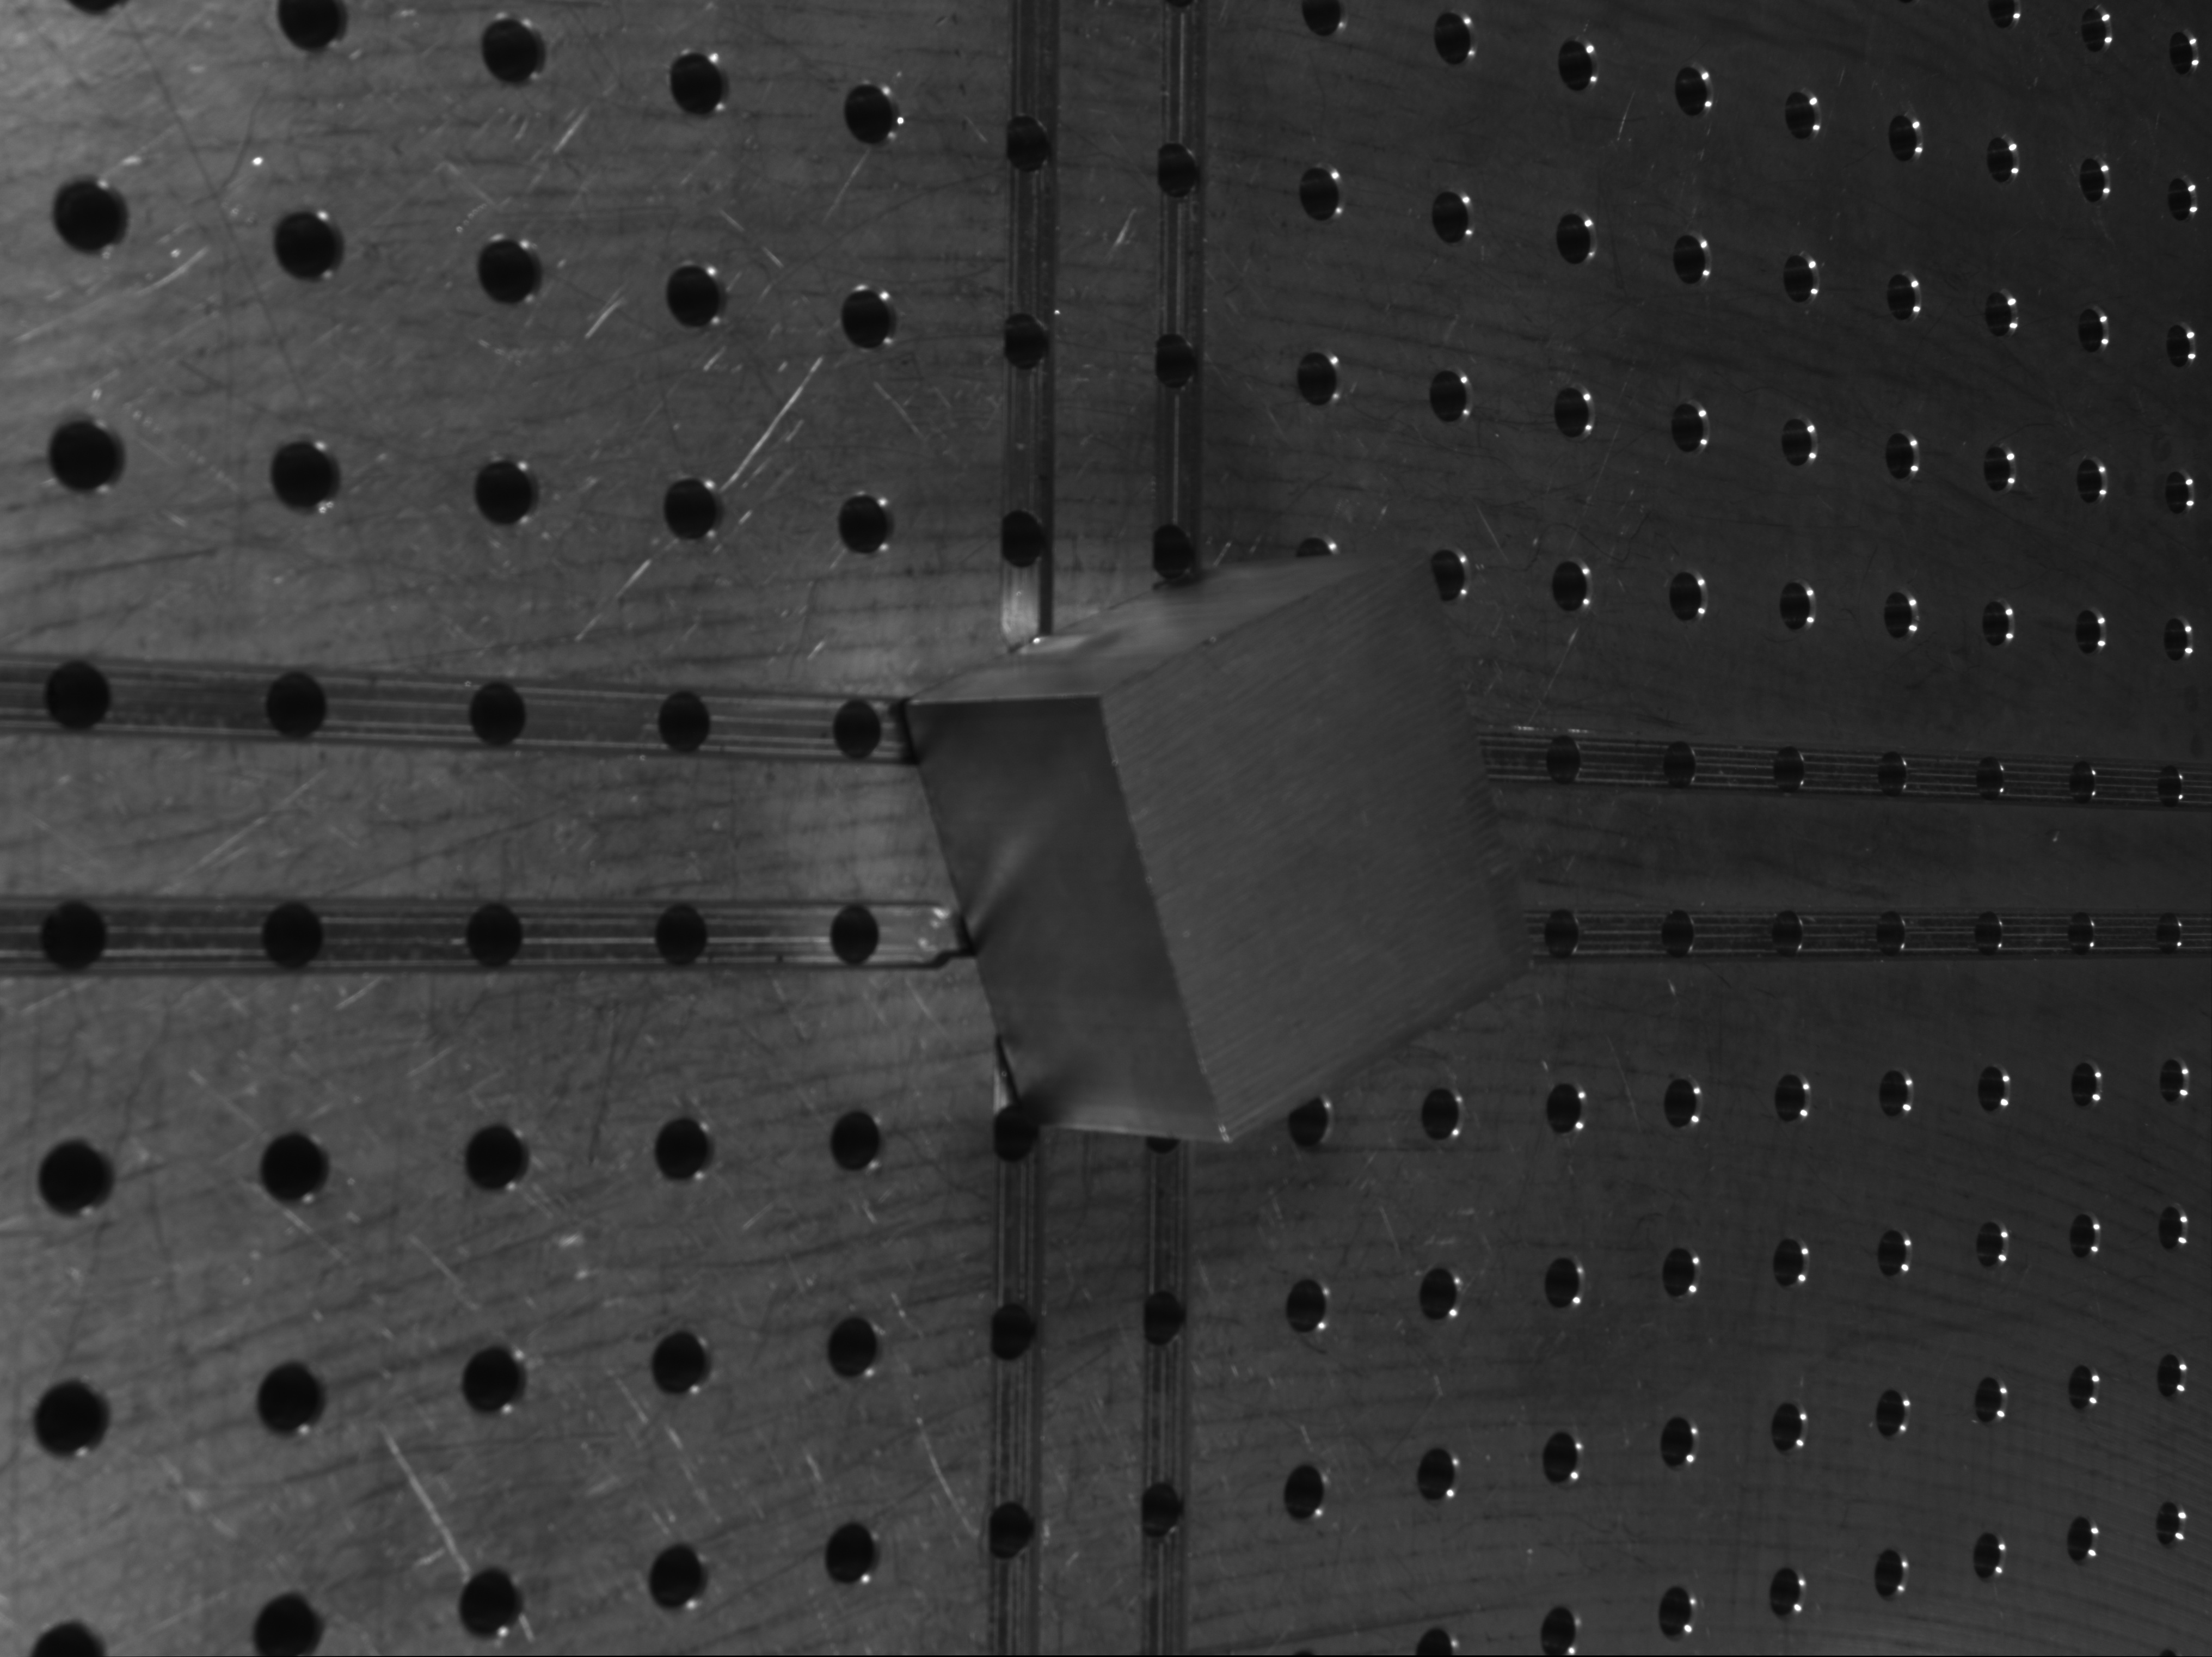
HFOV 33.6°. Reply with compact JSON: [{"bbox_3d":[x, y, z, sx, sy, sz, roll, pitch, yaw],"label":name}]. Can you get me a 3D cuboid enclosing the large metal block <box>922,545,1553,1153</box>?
[{"bbox_3d":[0.024,0.002,0.641,0.080,0.050,0.080,-26,106,-37],"label":"large metal block"}]
